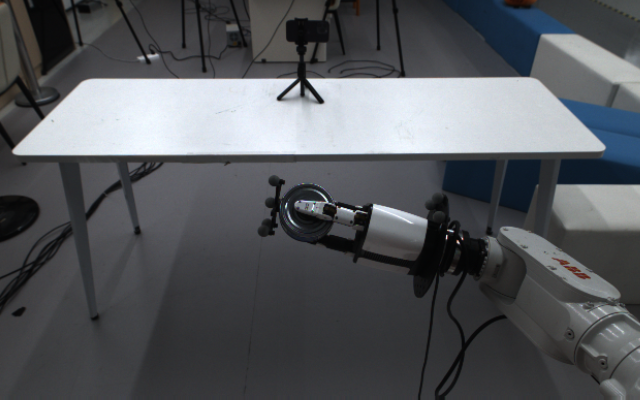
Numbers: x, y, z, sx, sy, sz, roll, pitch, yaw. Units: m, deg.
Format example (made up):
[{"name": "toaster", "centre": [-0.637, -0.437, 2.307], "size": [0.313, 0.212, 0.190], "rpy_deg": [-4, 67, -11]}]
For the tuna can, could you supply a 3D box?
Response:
[{"name": "tuna can", "centre": [-0.017, 0.018, 0.727], "size": [0.085, 0.034, 0.085], "rpy_deg": [2, 73, -5]}]
